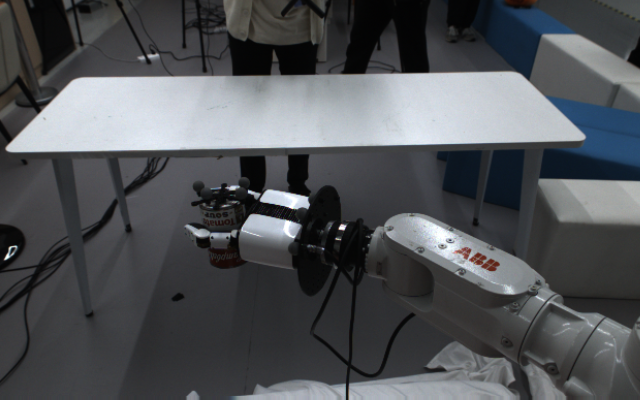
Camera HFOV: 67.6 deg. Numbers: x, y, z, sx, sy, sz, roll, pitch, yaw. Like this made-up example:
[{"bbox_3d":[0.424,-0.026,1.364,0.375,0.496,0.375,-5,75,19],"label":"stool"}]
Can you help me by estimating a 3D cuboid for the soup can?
[{"bbox_3d":[-0.142,0.045,0.737,0.067,0.101,0.067,-4,26,2],"label":"soup can"}]
